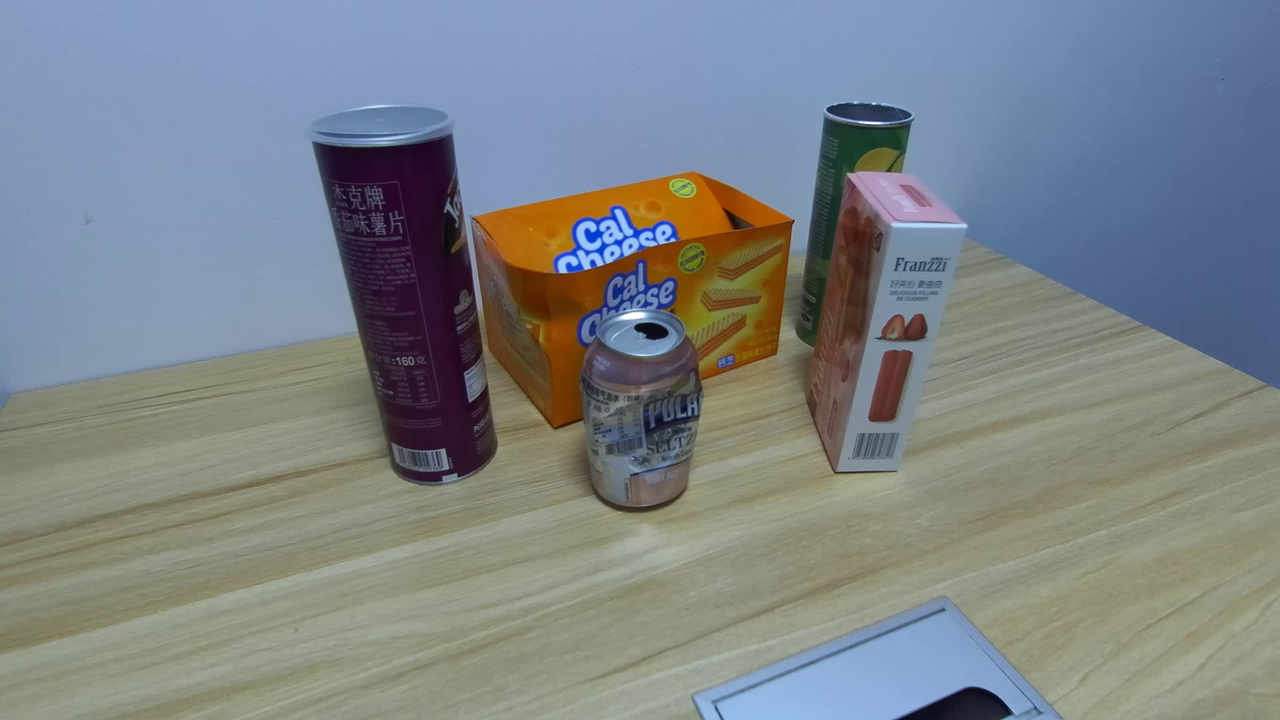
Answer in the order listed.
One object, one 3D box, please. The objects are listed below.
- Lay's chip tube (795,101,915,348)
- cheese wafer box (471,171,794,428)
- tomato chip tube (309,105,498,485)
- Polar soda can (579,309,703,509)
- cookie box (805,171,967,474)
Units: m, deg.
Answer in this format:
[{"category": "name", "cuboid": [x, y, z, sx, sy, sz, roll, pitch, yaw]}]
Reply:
[{"category": "Lay's chip tube", "cuboid": [0.180, -0.110, 0.605, 0.071, 0.203, 0.071, 0, 33, 0]}, {"category": "cheese wafer box", "cuboid": [-0.008, -0.058, 0.594, 0.231, 0.132, 0.151, -17, 36, -25]}, {"category": "tomato chip tube", "cuboid": [-0.143, -0.032, 0.453, 0.078, 0.234, 0.078, 0, 31, 0]}, {"category": "Polar soda can", "cuboid": [0.003, 0.034, 0.452, 0.074, 0.122, 0.067, 6, 33, 11]}, {"category": "cookie box", "cuboid": [0.161, -0.023, 0.484, 0.048, 0.185, 0.096, 1, 32, -2]}]
